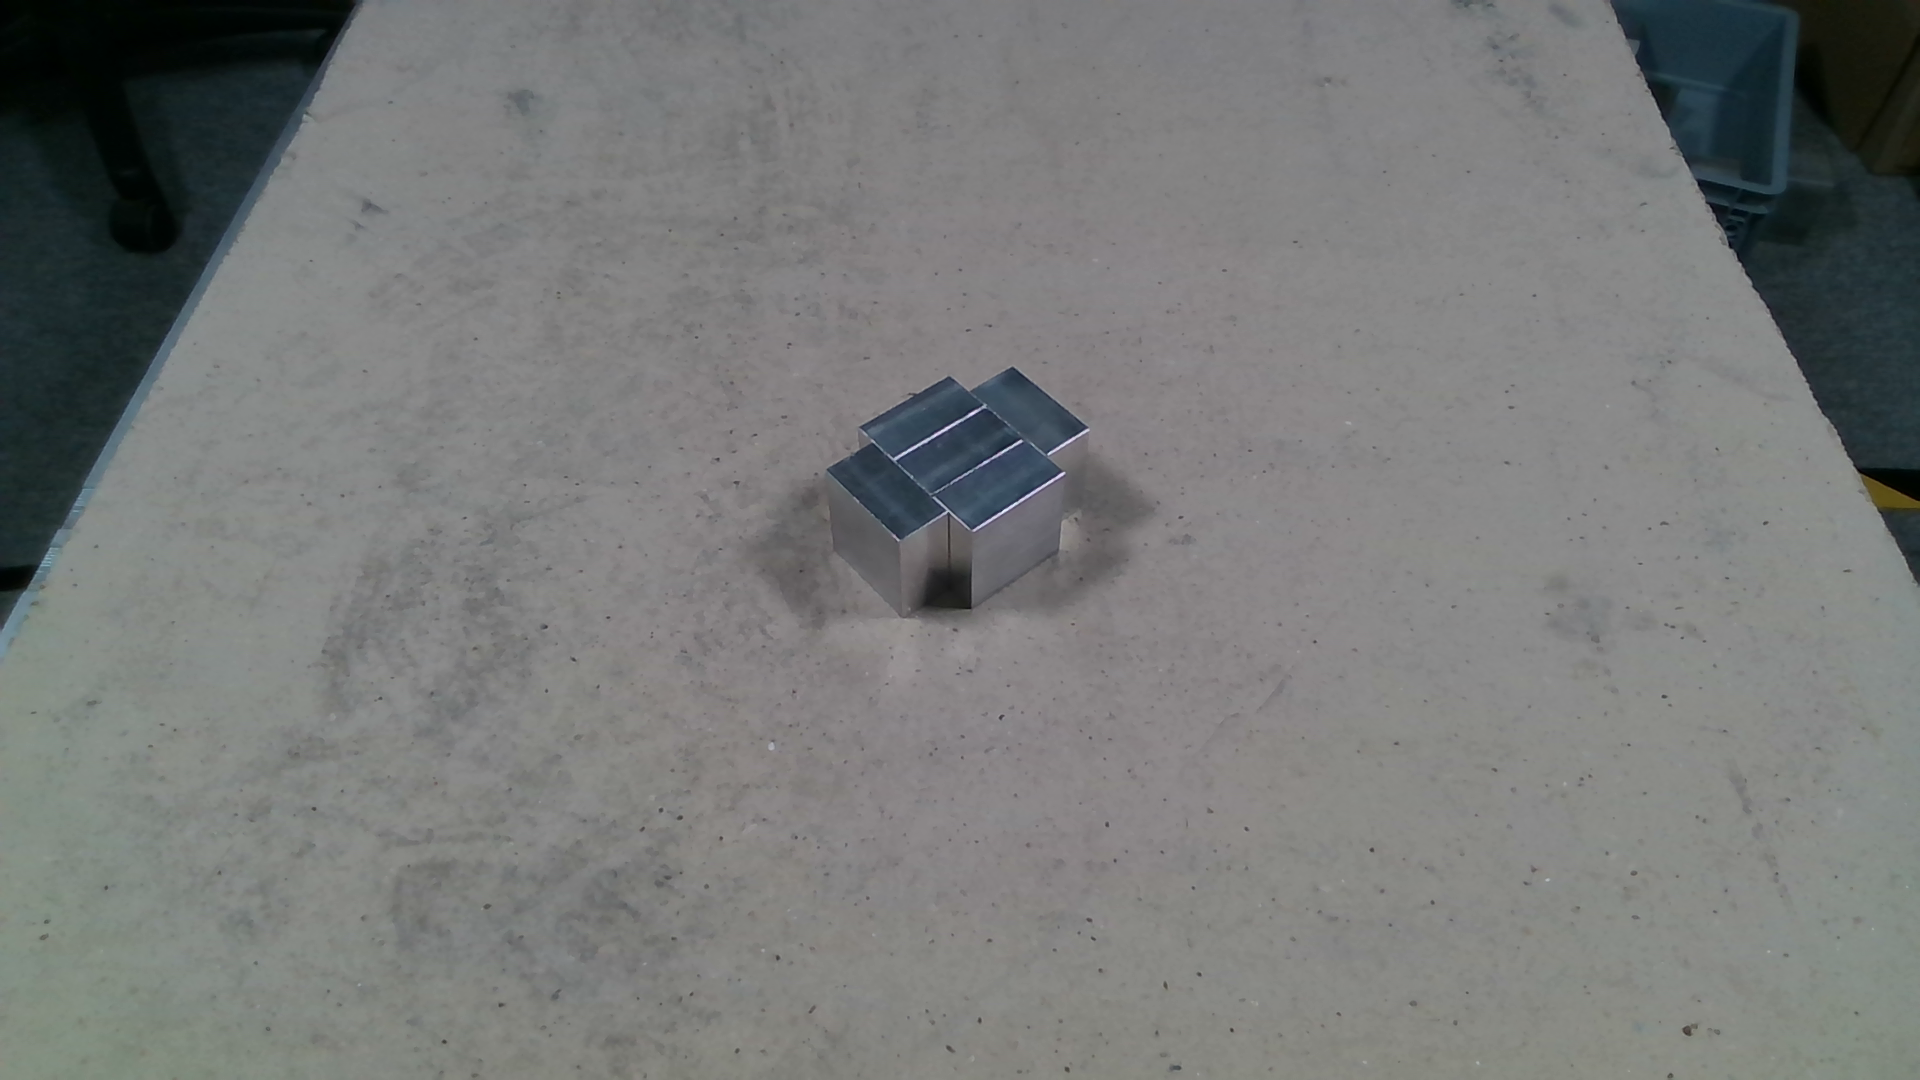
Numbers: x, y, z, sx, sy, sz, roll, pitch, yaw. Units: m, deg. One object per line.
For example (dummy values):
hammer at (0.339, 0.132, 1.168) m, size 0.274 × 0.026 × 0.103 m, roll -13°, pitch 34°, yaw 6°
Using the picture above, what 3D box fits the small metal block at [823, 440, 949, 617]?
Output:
small metal block at (-0.030, -0.005, 0.574) m, size 0.025 × 0.050 × 0.050 m, roll -32°, pitch 57°, yaw -24°

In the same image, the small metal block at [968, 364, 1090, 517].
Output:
small metal block at (0.029, -0.040, 0.604) m, size 0.025 × 0.050 × 0.050 m, roll -32°, pitch 57°, yaw -24°

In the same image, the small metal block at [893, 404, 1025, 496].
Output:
small metal block at (0.000, -0.022, 0.589) m, size 0.050 × 0.050 × 0.025 m, roll -33°, pitch 57°, yaw -24°

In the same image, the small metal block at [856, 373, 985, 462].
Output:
small metal block at (-0.016, -0.037, 0.601) m, size 0.050 × 0.050 × 0.025 m, roll -33°, pitch 57°, yaw -24°

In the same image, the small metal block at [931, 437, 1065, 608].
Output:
small metal block at (0.016, -0.007, 0.576) m, size 0.050 × 0.050 × 0.025 m, roll -33°, pitch 58°, yaw -25°
